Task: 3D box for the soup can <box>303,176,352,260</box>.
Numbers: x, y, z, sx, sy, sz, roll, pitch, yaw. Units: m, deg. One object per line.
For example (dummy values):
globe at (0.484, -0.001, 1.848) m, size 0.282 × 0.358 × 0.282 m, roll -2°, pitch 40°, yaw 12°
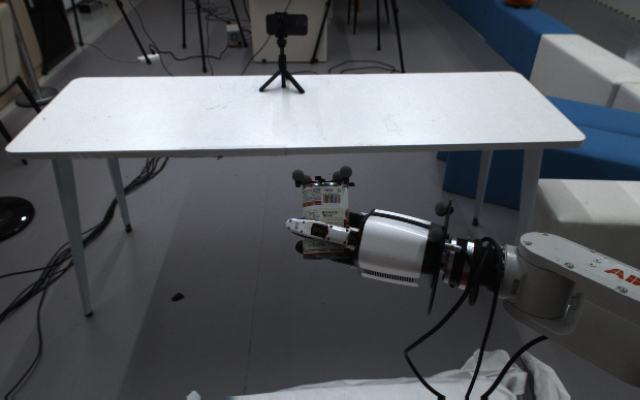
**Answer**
soup can at (0.009, 0.032, 0.678) m, size 0.067 × 0.101 × 0.067 m, roll -1°, pitch -9°, yaw 0°
